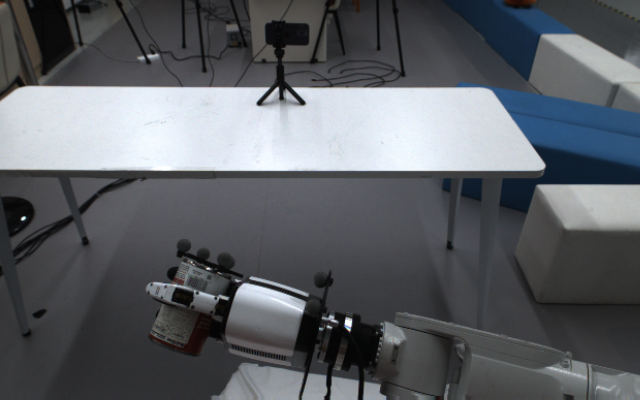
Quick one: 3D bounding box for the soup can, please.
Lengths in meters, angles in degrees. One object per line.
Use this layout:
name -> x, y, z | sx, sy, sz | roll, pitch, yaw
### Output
soup can -> -0.156, 0.132, 0.593 | 0.067, 0.067, 0.101 | 16, 75, 19
